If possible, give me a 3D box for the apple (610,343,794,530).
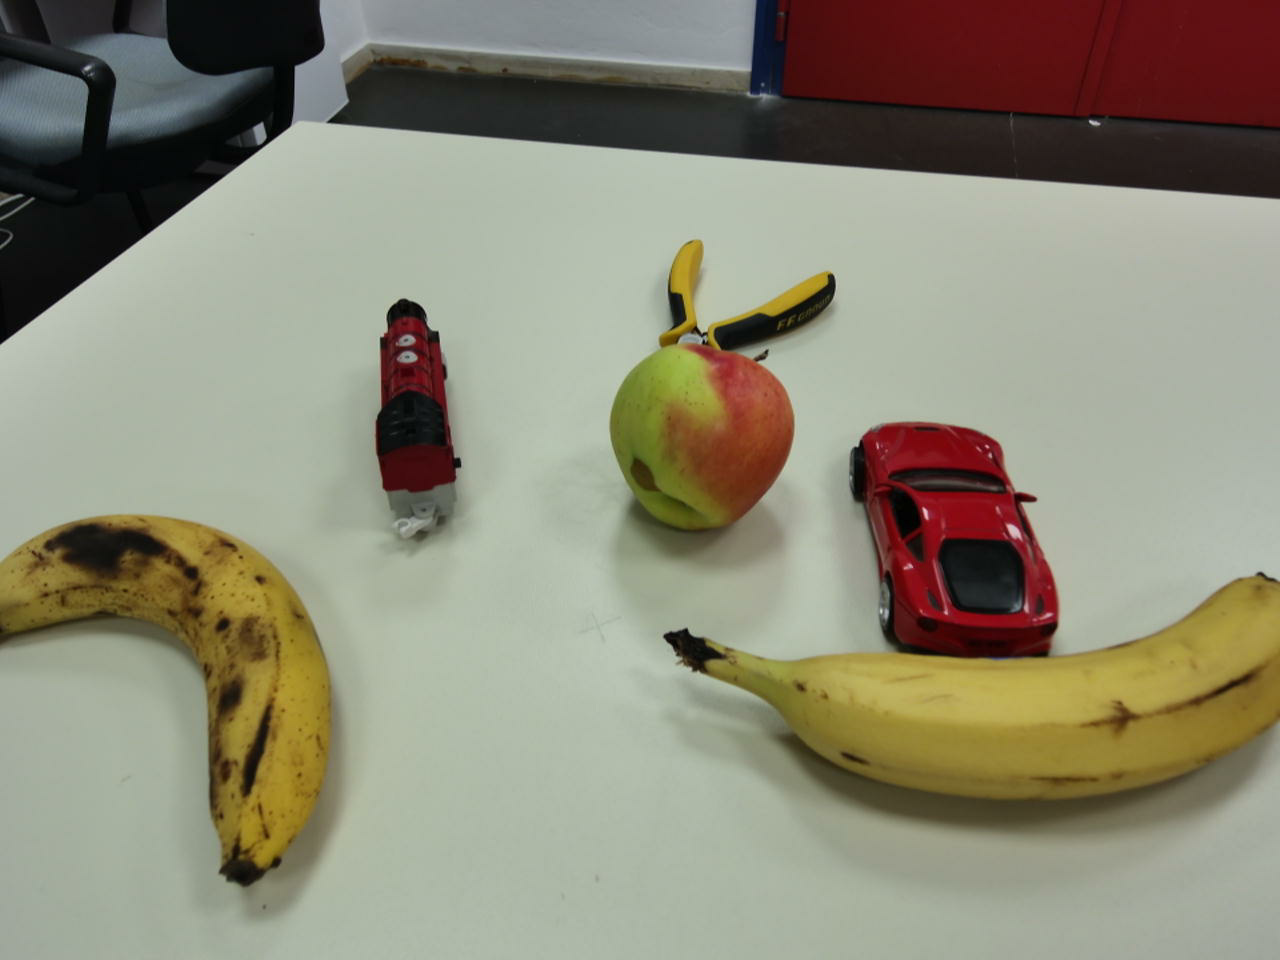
[{"bbox_3d":[0.025,-0.018,0.407,0.075,0.074,0.075,-3,38,-5],"label":"apple"}]
